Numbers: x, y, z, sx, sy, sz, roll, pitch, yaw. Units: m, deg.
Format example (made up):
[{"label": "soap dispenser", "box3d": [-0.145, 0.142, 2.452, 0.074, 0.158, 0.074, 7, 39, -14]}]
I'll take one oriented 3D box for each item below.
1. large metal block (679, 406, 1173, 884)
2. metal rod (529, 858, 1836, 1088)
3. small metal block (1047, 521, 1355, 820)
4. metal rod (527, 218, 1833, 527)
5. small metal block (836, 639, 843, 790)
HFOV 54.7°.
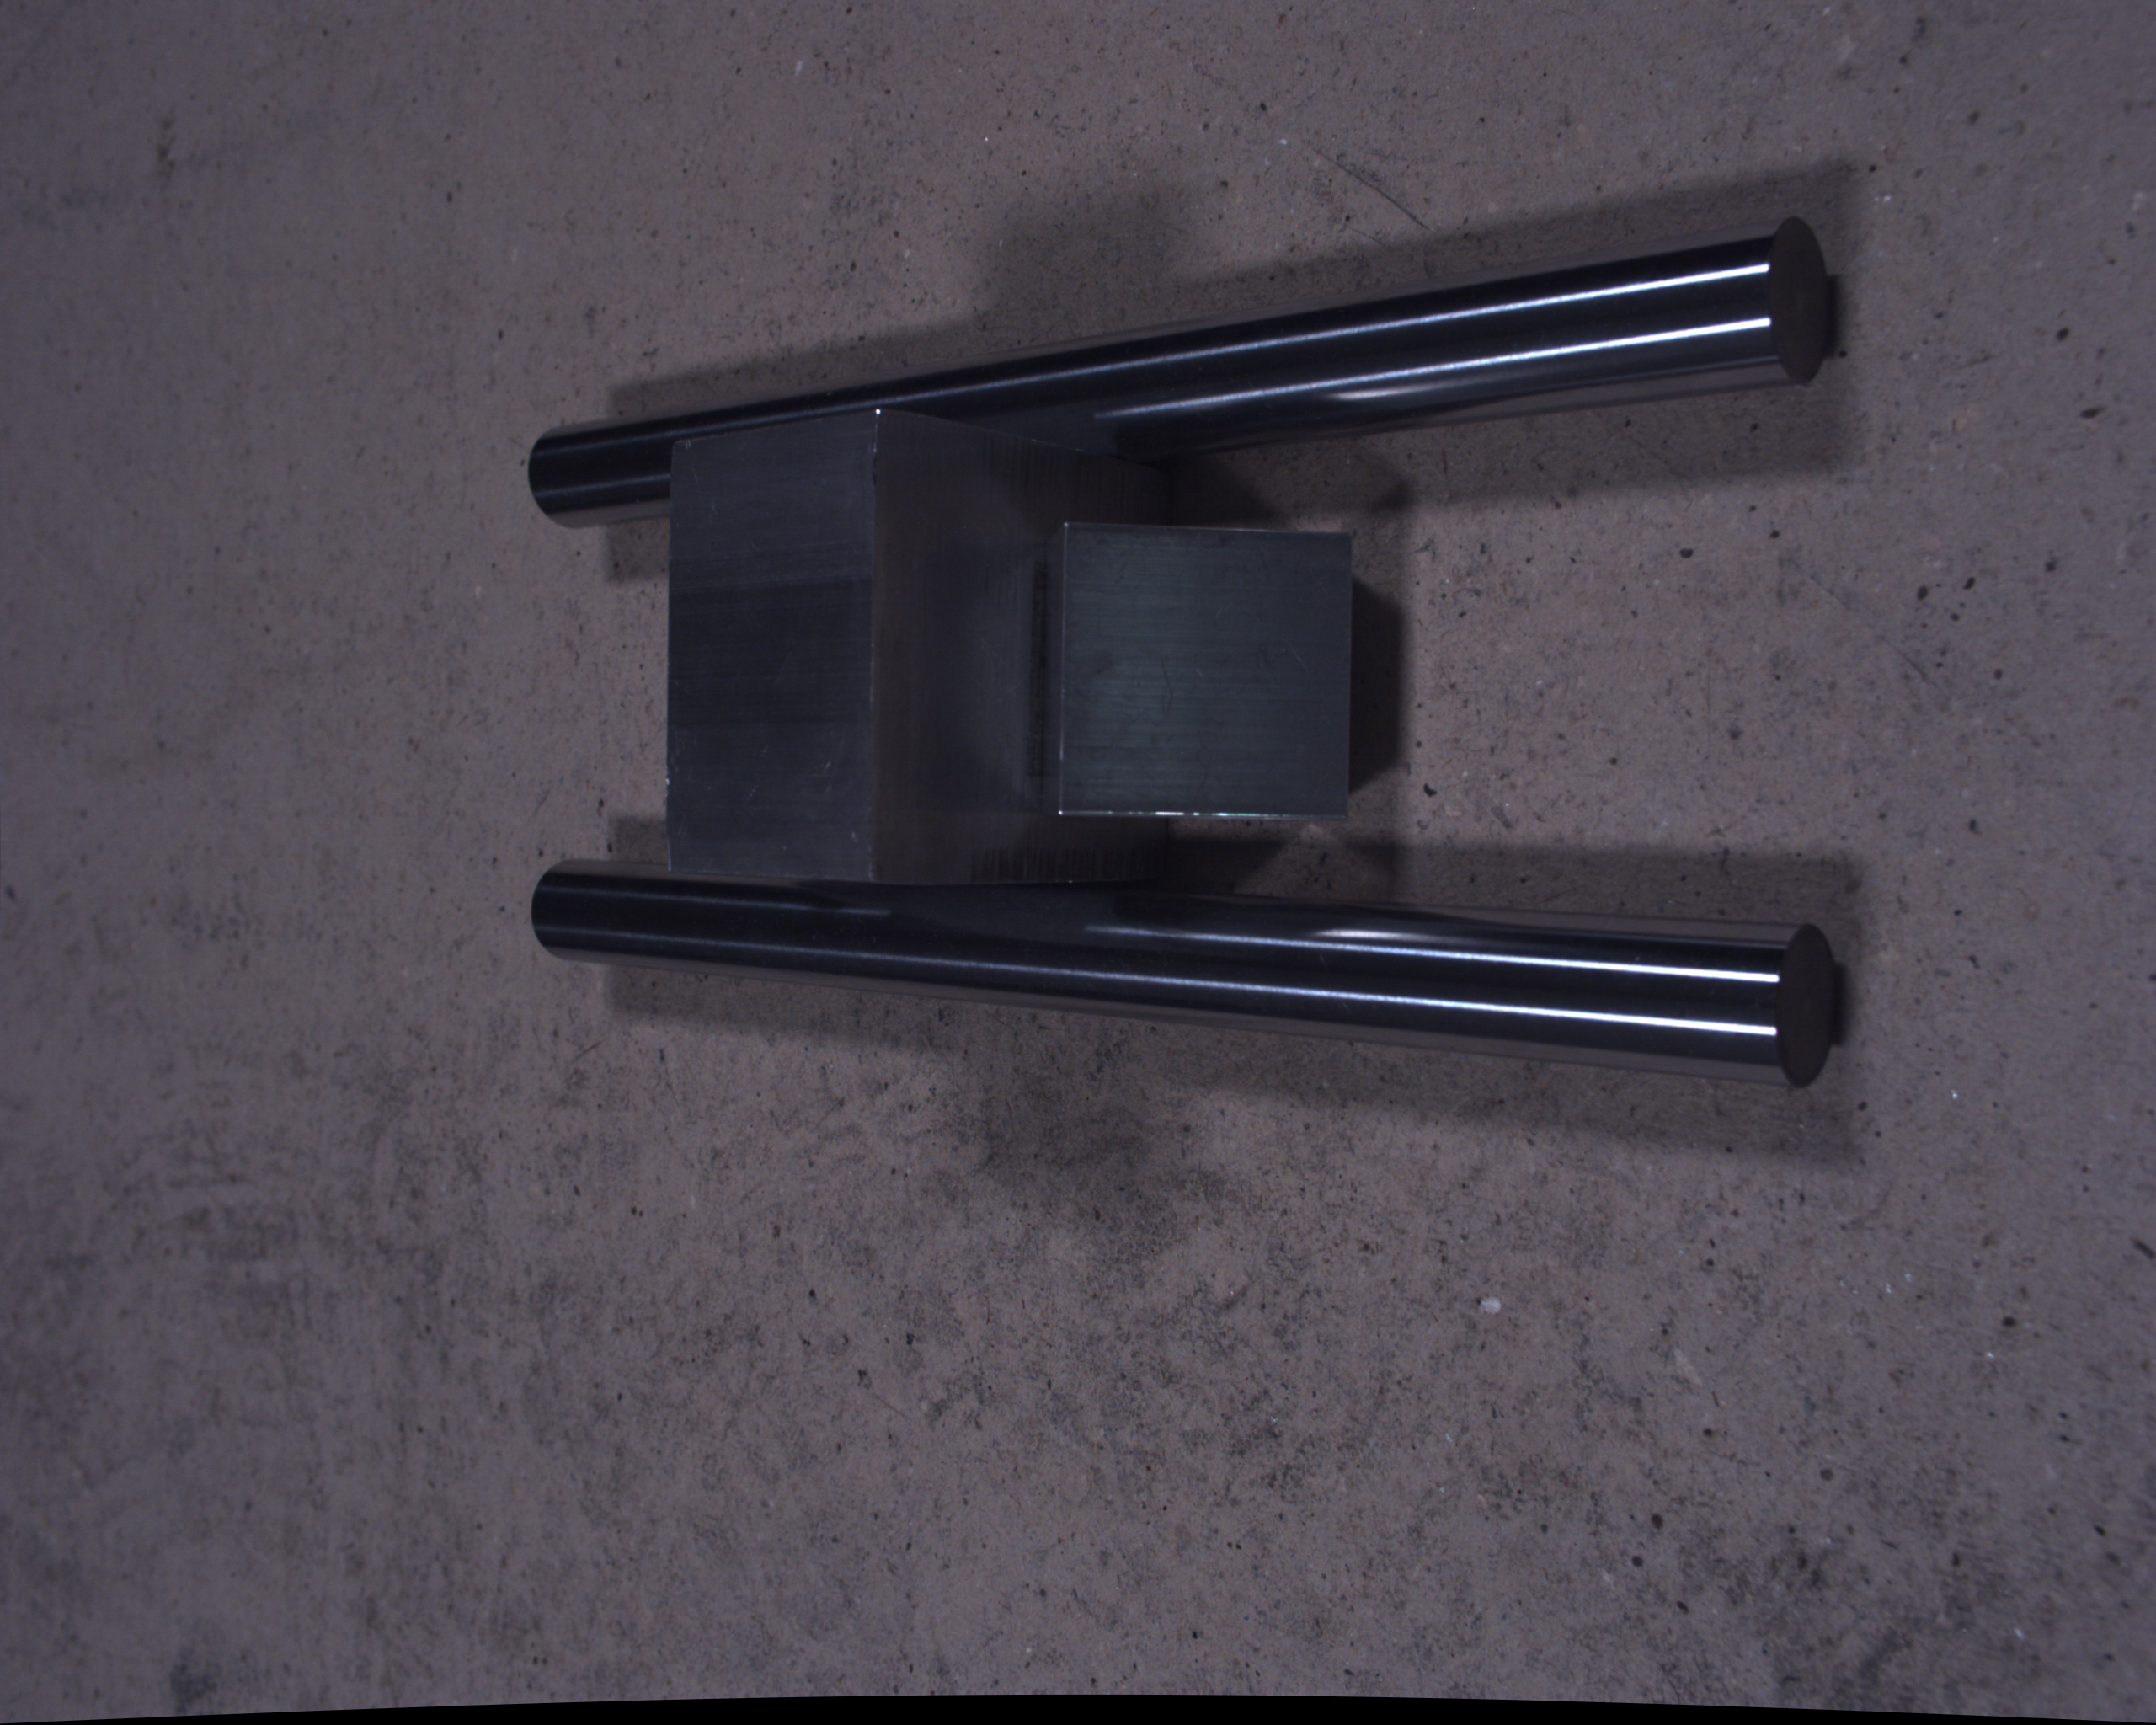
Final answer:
[{"label": "large metal block", "box3d": [-0.027, -0.037, 0.394, 0.050, 0.081, 0.079, 1, 91, 40]}, {"label": "metal rod", "box3d": [-0.006, 0.016, 0.410, 0.300, 0.025, 0.025, 3, 92, 39]}, {"label": "small metal block", "box3d": [0.021, -0.033, 0.370, 0.025, 0.050, 0.050, -178, 89, -81]}, {"label": "metal rod", "box3d": [-0.007, -0.089, 0.410, 0.300, 0.025, 0.025, 2, 91, 39]}, {"label": "small metal block", "box3d": [-0.059, -0.037, 0.435, 0.025, 0.050, 0.050, 1, 91, 0]}]
